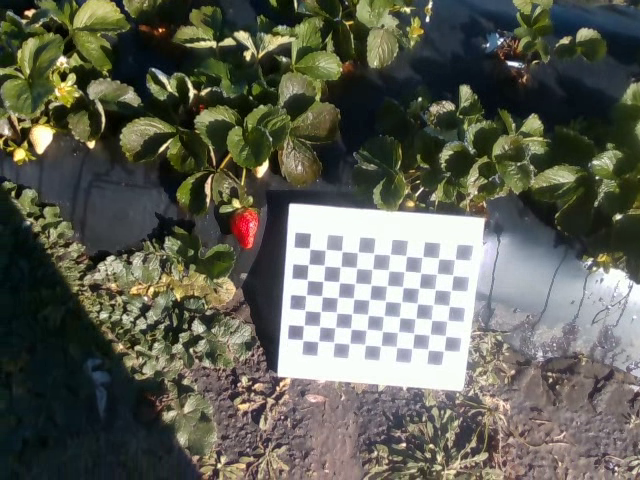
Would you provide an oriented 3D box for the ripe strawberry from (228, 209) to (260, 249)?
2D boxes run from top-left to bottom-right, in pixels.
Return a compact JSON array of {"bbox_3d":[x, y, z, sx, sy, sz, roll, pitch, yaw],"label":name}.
[{"bbox_3d":[-0.111,-0.016,0.924,0.048,0.069,0.040,-13,3,3],"label":"ripe strawberry"}]
